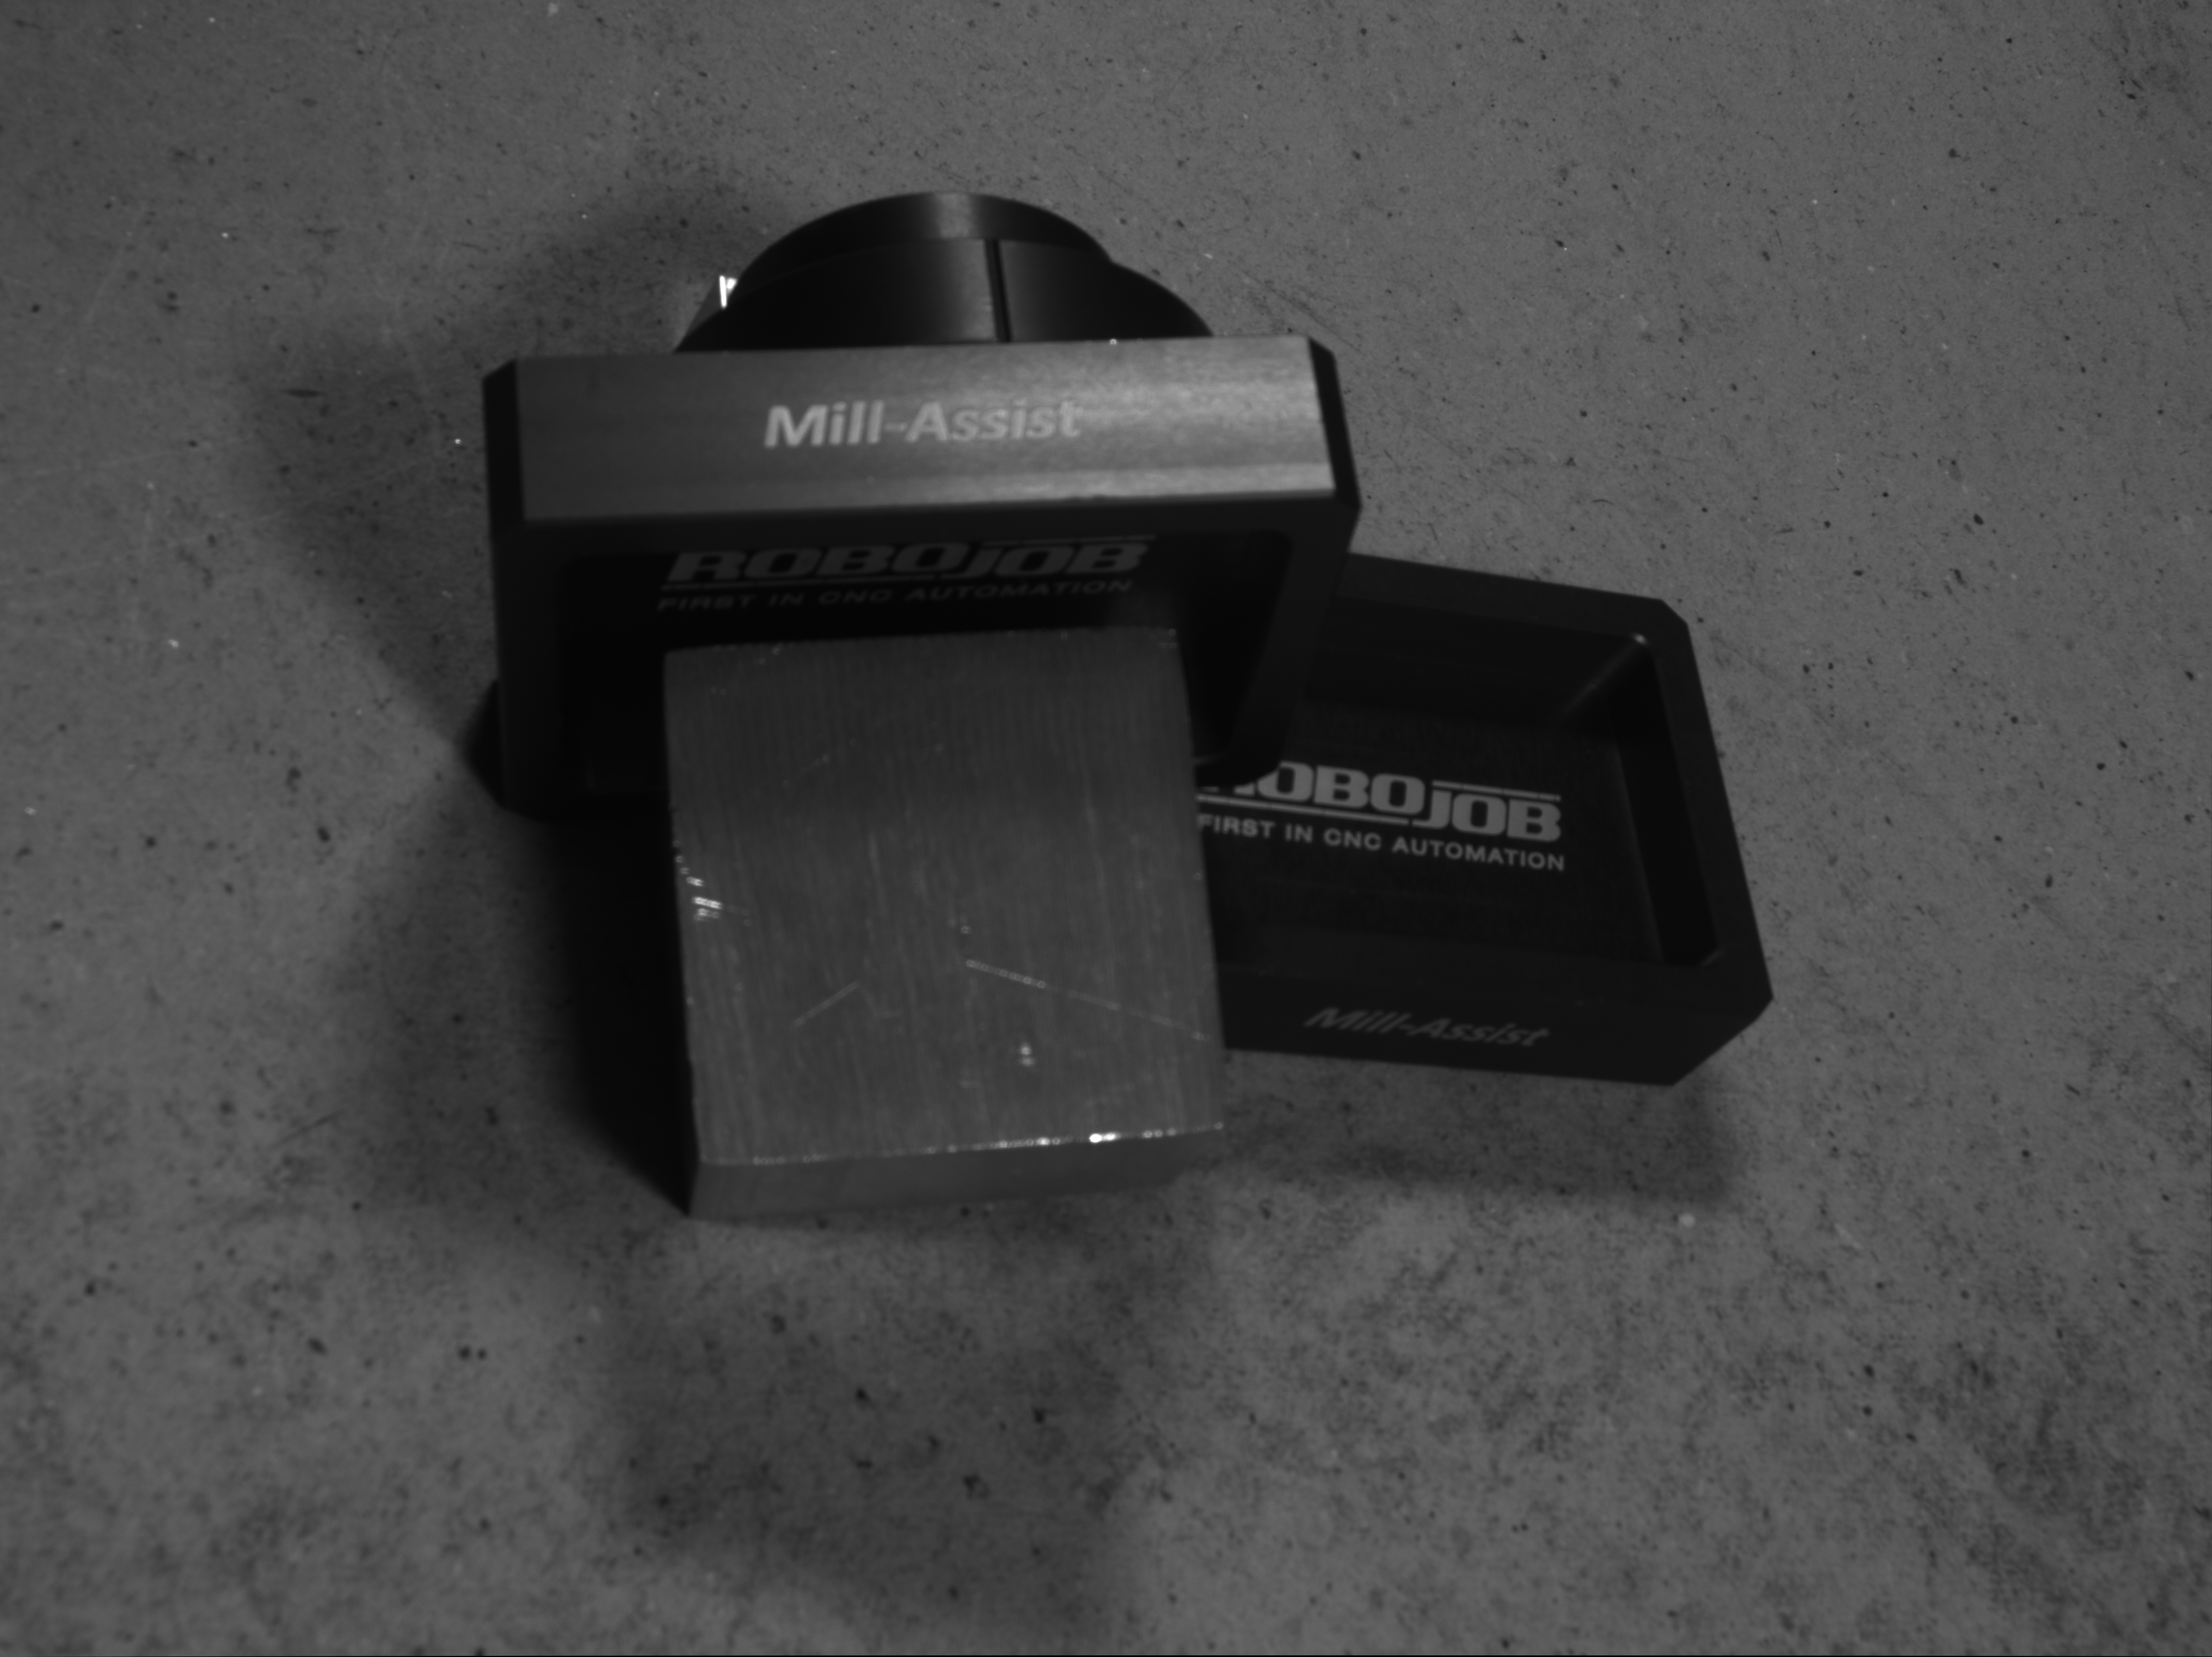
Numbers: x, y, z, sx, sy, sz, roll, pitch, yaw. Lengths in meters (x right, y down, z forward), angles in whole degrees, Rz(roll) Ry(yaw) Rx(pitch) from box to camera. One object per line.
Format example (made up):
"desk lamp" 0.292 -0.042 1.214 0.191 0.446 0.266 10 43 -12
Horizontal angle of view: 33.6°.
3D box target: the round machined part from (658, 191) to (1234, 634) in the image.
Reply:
"round machined part" -0.027 -0.068 0.607 0.098 0.098 0.042 6 59 -25

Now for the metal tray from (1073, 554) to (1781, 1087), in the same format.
"metal tray" 0.053 -0.004 0.668 0.130 0.030 0.090 6 59 -25

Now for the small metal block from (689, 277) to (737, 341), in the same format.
"small metal block" -0.047 -0.067 0.657 0.050 0.025 0.050 6 59 -25

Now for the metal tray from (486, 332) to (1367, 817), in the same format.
"metal tray" -0.031 -0.039 0.584 0.130 0.090 0.030 -3 62 -9

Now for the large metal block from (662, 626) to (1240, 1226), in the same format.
"large metal block" -0.027 0.016 0.576 0.080 0.050 0.080 -3 75 -10
